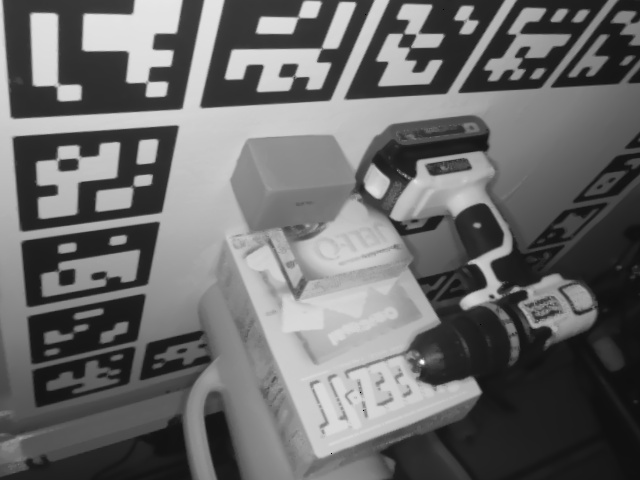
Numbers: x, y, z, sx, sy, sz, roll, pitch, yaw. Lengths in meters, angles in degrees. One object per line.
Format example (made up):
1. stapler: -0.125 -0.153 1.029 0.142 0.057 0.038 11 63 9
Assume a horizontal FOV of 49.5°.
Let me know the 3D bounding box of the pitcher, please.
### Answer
1. pitcher: -0.031 0.151 0.671 0.192 0.242 0.131 -6 143 -33

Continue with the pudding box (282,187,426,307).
1. pudding box: 0.035 0.004 0.619 0.115 0.090 0.038 -11 147 -29

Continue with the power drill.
1. power drill: 0.132 0.010 0.567 0.187 0.187 0.056 -9 148 -25

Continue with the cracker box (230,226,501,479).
1. cracker box: 0.035 0.077 0.622 0.167 0.213 0.071 -12 148 -26

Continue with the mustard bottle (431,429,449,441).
1. mustard bottle: 0.083 0.124 0.738 0.098 0.191 0.057 1 139 -37

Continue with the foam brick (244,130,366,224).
1. foam brick: -0.012 -0.053 0.563 0.079 0.051 0.052 -7 142 -28
